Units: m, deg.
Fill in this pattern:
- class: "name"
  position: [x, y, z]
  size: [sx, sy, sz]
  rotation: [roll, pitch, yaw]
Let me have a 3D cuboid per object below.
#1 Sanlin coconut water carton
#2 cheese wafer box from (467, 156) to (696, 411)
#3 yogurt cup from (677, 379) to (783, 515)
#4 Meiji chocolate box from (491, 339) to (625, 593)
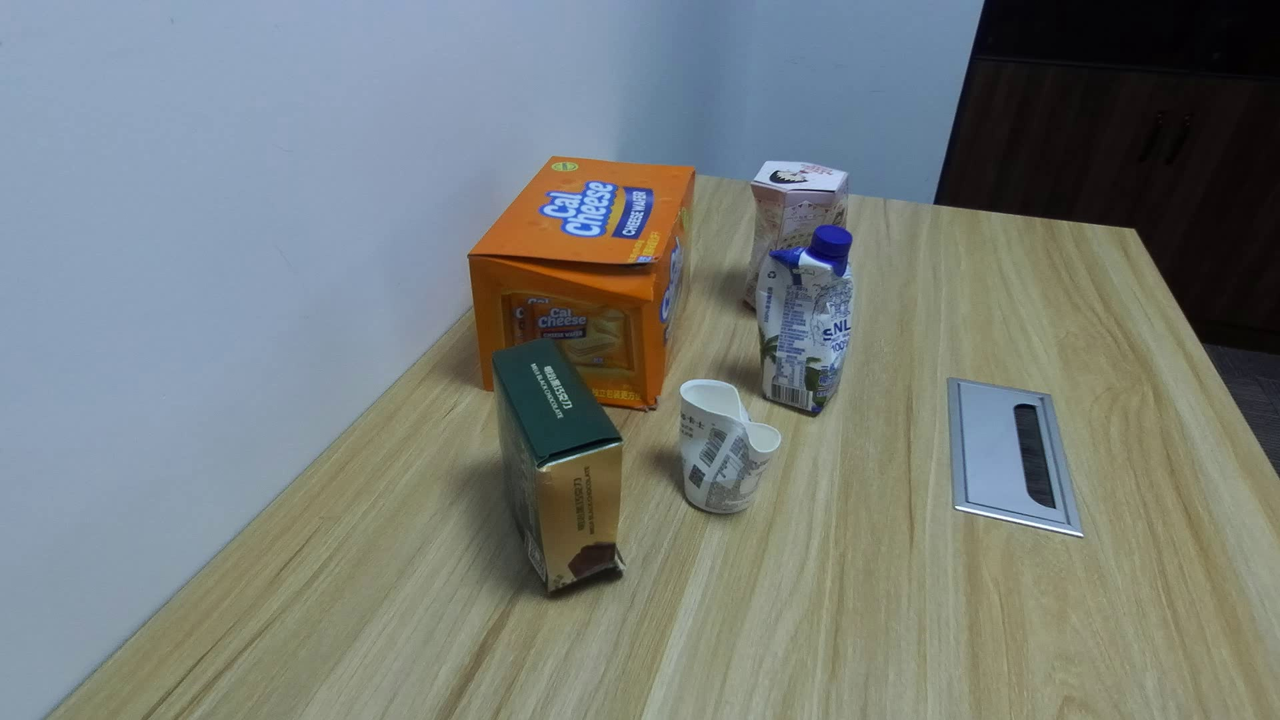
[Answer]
- class: "Sanlin coconut water carton"
  position: [0.130, -0.036, 0.557]
  size: [0.068, 0.145, 0.057]
  rotation: [11, 28, 28]
- class: "cheese wafer box"
  position: [-0.037, -0.079, 0.622]
  size: [0.149, 0.137, 0.227]
  rotation: [7, 35, 8]
- class: "yogurt cup"
  position: [0.056, 0.061, 0.474]
  size: [0.075, 0.071, 0.054]
  rotation: [15, 39, 22]
- class: "Meiji chocolate box"
  position: [-0.054, 0.064, 0.438]
  size: [0.059, 0.116, 0.122]
  rotation: [-12, 36, -20]
